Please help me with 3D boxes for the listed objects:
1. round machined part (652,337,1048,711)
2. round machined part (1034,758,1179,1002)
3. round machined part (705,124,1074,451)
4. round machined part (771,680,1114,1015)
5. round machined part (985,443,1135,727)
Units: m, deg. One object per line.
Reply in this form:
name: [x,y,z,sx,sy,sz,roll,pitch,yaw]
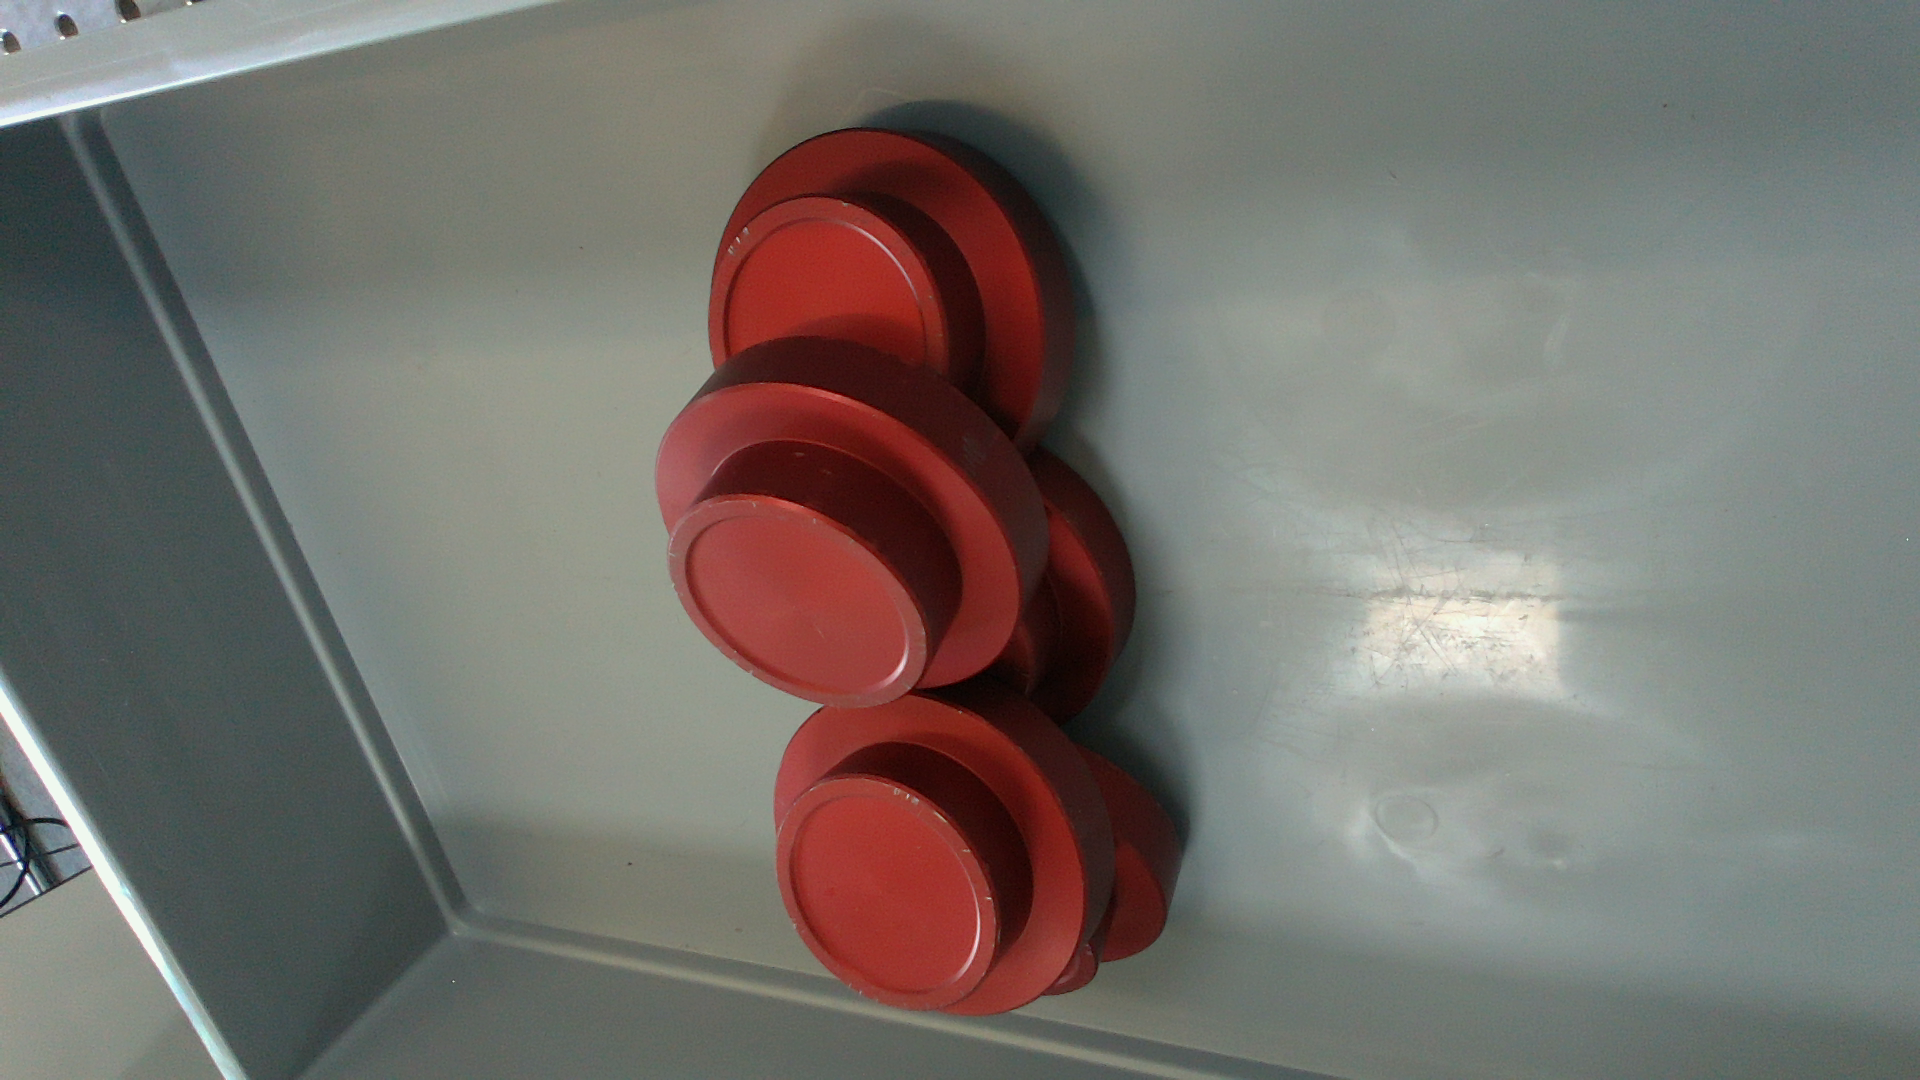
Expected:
round machined part: [-0.032,0.003,0.333,0.098,0.042,0.098,15,137,15]
round machined part: [0.014,0.104,0.420,0.098,0.042,0.098,15,139,14]
round machined part: [-0.024,-0.054,0.346,0.098,0.042,0.098,7,106,26]
round machined part: [-0.011,0.087,0.374,0.098,0.042,0.098,9,112,25]
round machined part: [-0.003,0.017,0.393,0.098,0.042,0.098,13,123,21]
